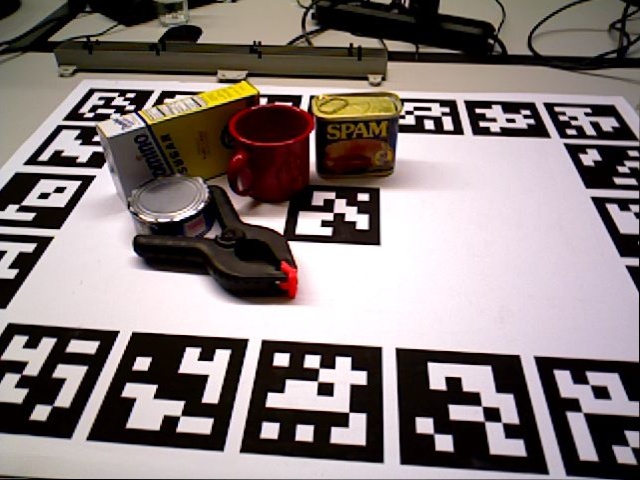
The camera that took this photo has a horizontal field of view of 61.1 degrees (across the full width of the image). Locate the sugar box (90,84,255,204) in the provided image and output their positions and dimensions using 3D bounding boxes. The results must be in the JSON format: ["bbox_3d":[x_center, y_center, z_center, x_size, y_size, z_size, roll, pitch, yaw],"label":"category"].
[{"bbox_3d":[-0.153,-0.105,0.605,0.173,0.095,0.045,-24,46,-25],"label":"sugar box"}]

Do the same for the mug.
[{"bbox_3d":[-0.062,-0.093,0.586,0.093,0.083,0.114,21,48,20],"label":"mug"}]

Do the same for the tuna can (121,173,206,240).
[{"bbox_3d":[-0.161,-0.030,0.558,0.085,0.034,0.084,-1,45,0],"label":"tuna can"}]

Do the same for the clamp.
[{"bbox_3d":[-0.087,0.014,0.517,0.165,0.037,0.119,31,47,24],"label":"clamp"}]

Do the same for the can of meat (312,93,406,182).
[{"bbox_3d":[0.041,-0.116,0.622,0.101,0.085,0.057,-2,41,-4],"label":"can of meat"}]
